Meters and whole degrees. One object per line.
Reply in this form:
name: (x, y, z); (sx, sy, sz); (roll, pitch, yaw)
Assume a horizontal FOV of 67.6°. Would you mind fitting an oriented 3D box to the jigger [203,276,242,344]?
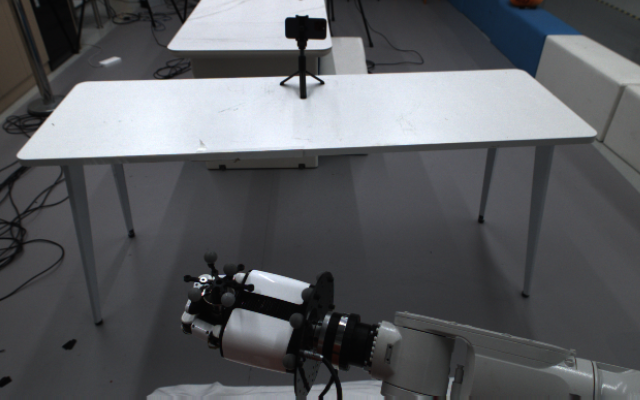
jigger: (-0.130, 0.147, 0.636); (0.043, 0.071, 0.043); (7, 32, -4)
